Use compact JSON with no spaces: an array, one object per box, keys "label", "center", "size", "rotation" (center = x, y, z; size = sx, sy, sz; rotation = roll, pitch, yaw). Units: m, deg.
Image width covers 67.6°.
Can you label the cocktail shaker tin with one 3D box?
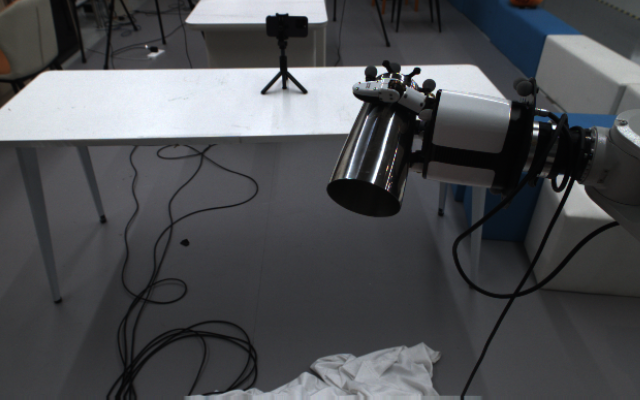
[{"label":"cocktail shaker tin","center":[0.079,-0.078,0.609],"size":[0.093,0.093,0.170],"rotation":[12,65,15]}]
